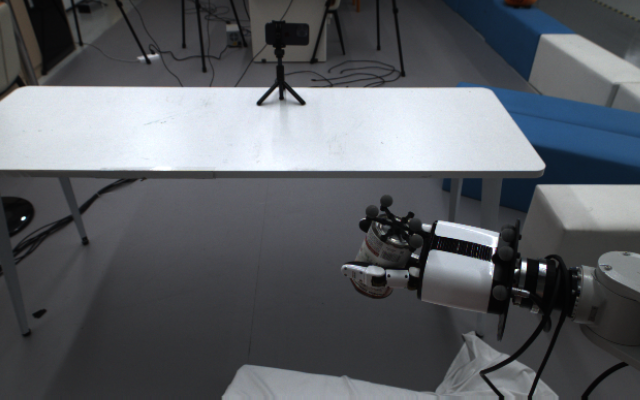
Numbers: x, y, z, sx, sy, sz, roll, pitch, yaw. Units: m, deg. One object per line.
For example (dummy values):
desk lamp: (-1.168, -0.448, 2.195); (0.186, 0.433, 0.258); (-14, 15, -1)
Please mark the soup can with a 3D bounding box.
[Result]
soup can: (0.089, 0.078, 0.670); (0.067, 0.101, 0.067); (13, 35, -9)
